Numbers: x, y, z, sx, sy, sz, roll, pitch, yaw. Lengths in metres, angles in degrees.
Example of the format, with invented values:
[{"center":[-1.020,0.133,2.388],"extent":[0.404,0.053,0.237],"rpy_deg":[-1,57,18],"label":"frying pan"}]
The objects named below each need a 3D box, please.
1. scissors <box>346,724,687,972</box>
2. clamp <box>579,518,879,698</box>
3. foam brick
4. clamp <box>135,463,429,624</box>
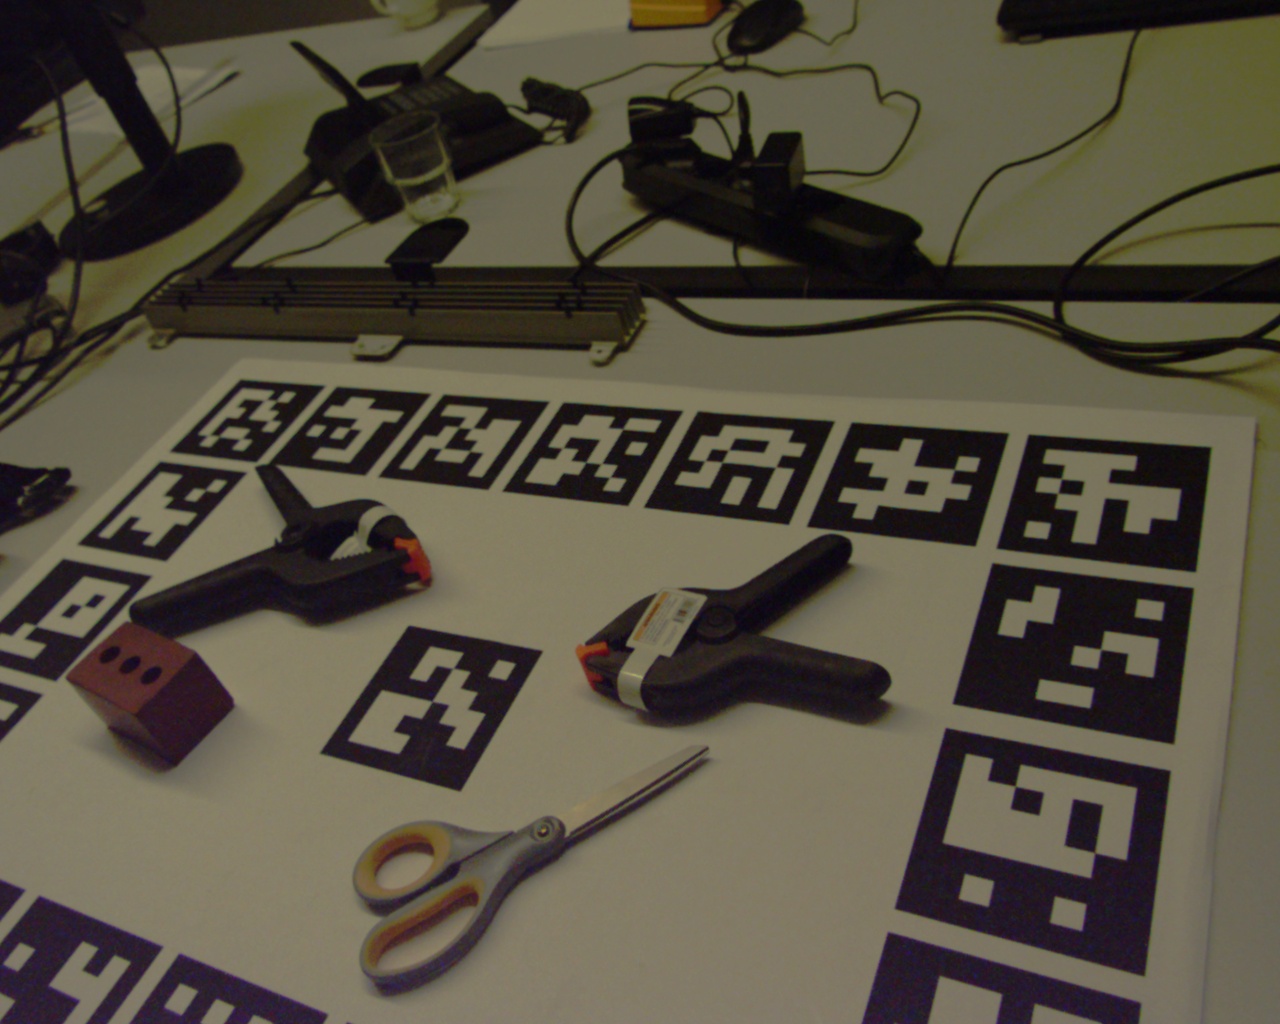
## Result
[{"center":[-0.063,0.164,0.618],"extent":[0.202,0.016,0.089],"rpy_deg":[-28,49,-11],"label":"scissors"},{"center":[0.046,0.067,0.675],"extent":[0.166,0.036,0.122],"rpy_deg":[-15,48,7],"label":"clamp"},{"center":[-0.311,0.116,0.750],"extent":[0.079,0.051,0.052],"rpy_deg":[10,50,35],"label":"foam brick"},{"center":[-0.244,0.026,0.828],"extent":[0.205,0.036,0.165],"rpy_deg":[3,43,24],"label":"clamp"}]
